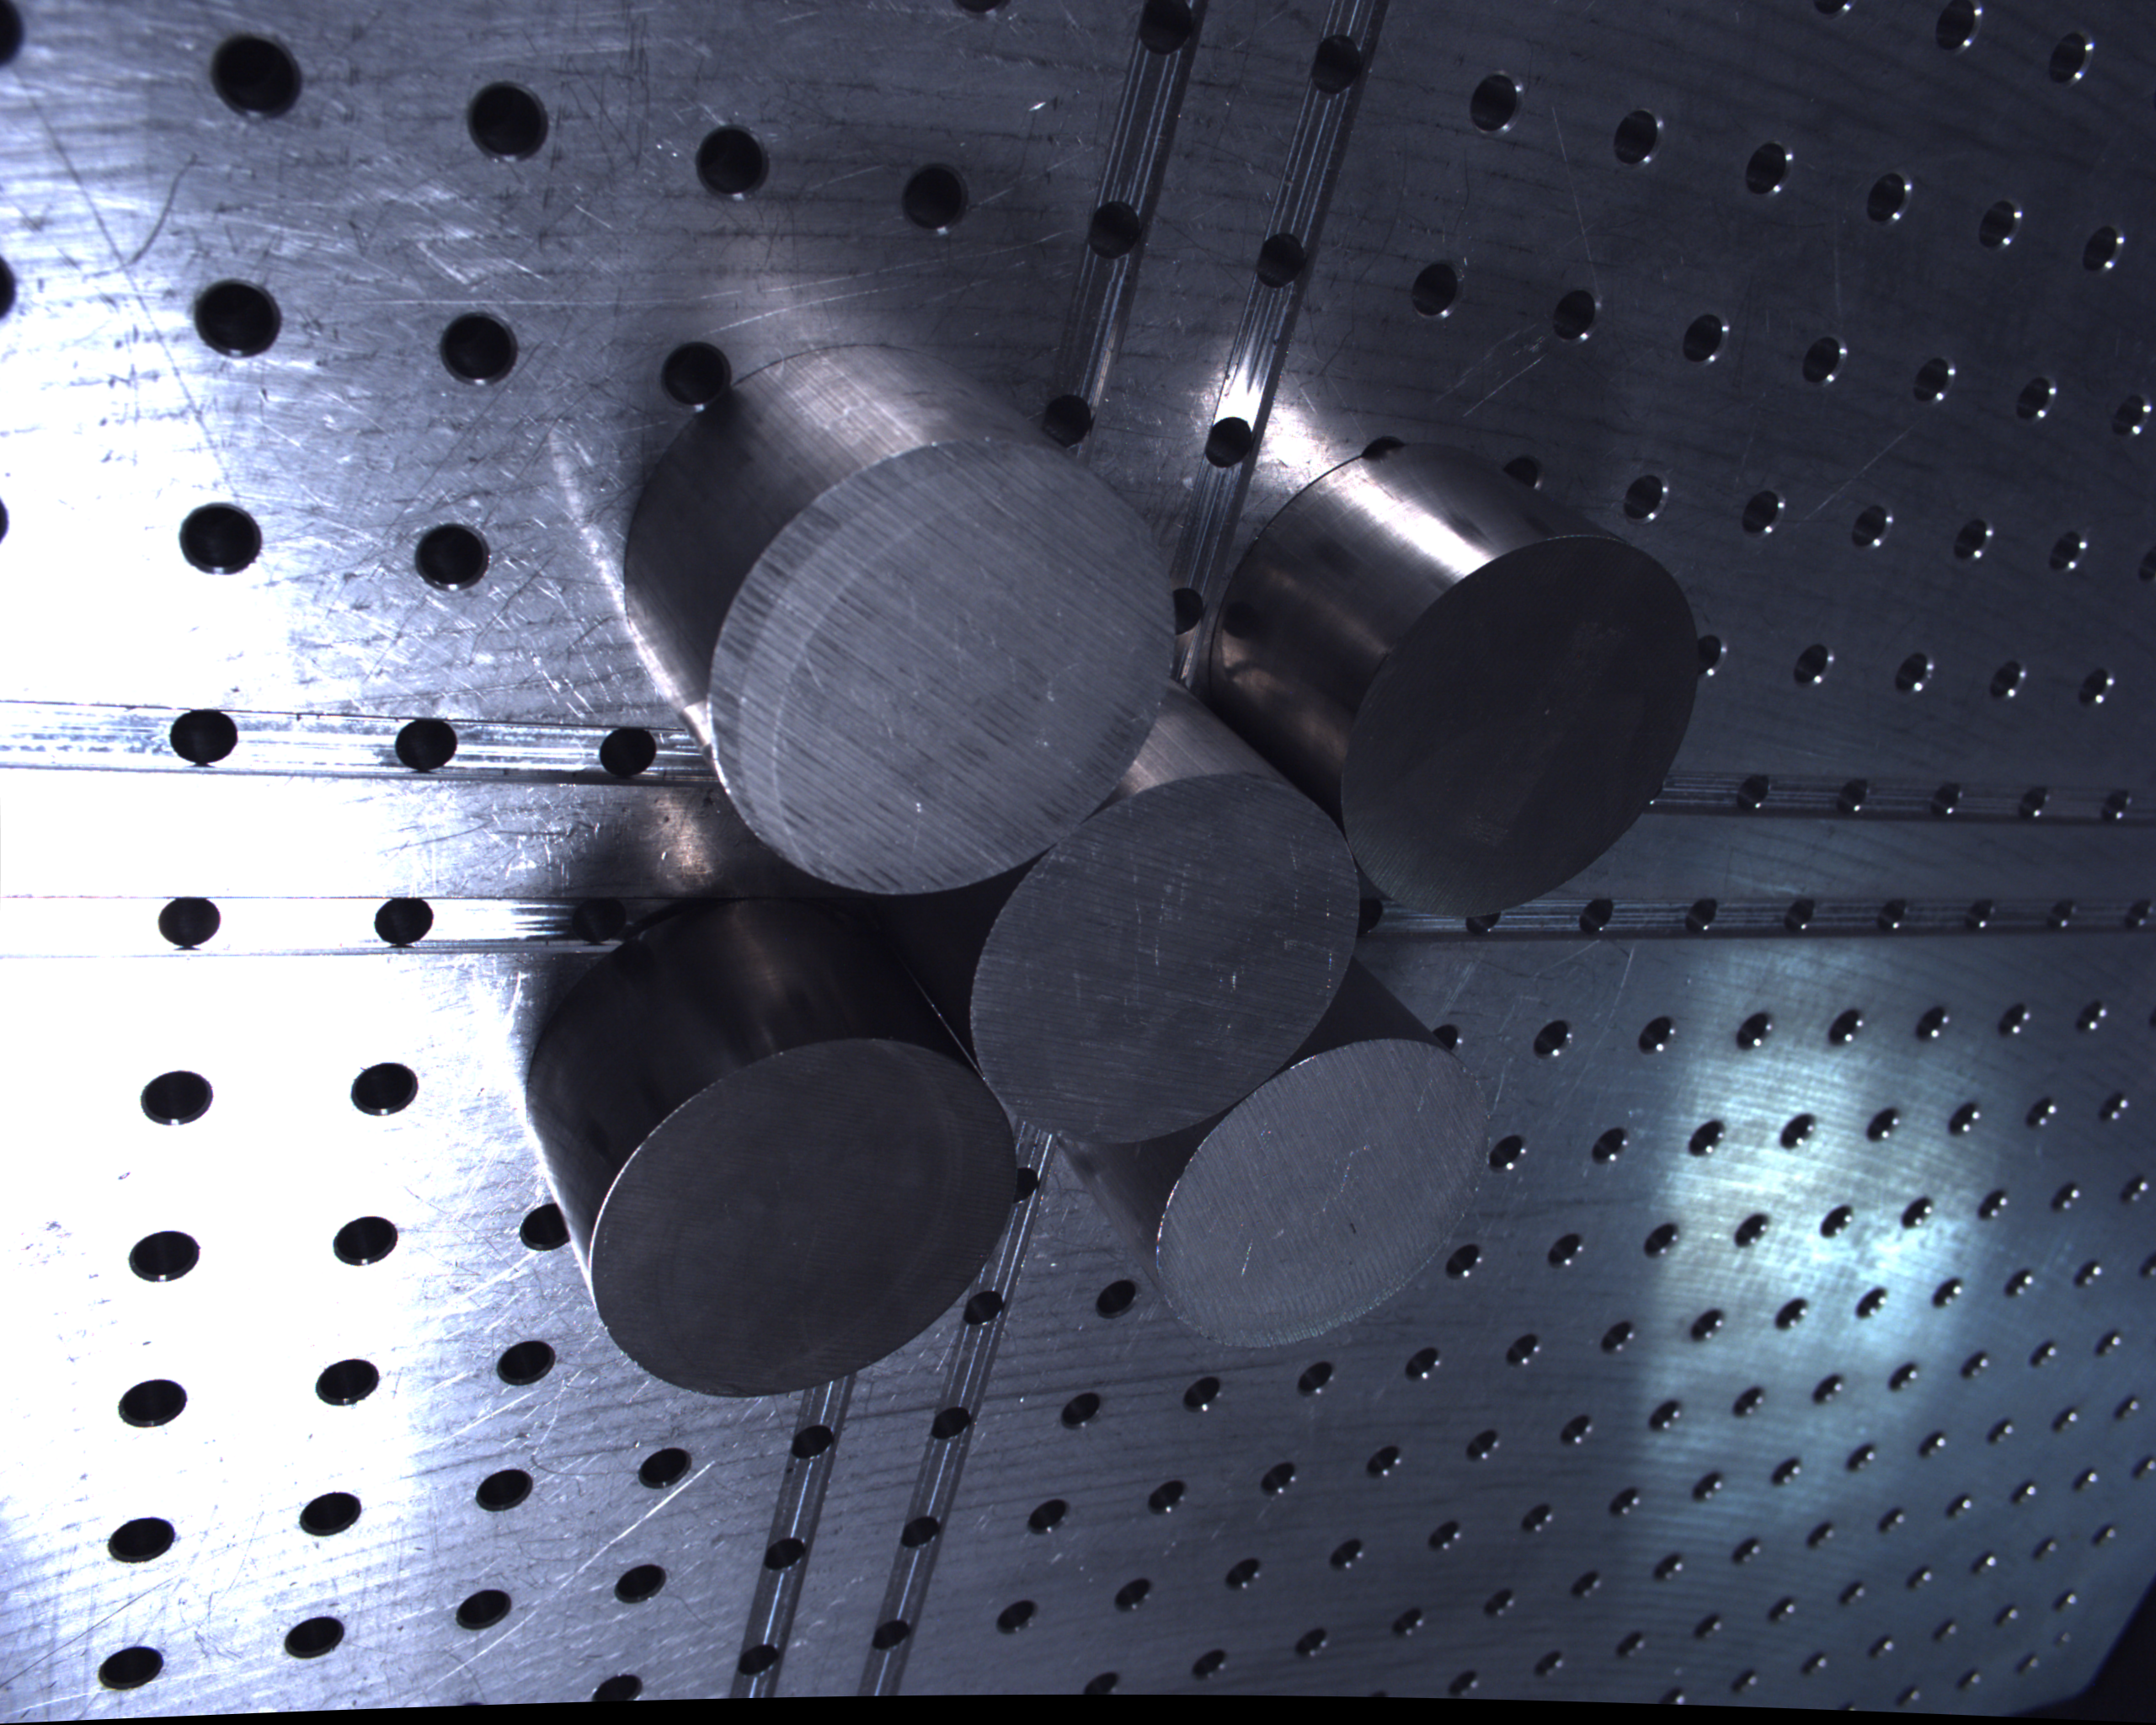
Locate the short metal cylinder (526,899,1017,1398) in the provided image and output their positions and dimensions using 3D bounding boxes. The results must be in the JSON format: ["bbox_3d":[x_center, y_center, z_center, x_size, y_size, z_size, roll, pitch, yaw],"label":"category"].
[{"bbox_3d":[-0.059,0.054,0.396,0.081,0.050,0.079,-14,125,-21],"label":"short metal cylinder"}]

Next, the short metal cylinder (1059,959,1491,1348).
[{"bbox_3d":[0.042,0.058,0.455,0.081,0.050,0.079,-14,125,-21],"label":"short metal cylinder"}]

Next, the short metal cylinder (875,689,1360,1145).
[{"bbox_3d":[0.007,0.007,0.404,0.081,0.050,0.079,-14,125,-21],"label":"short metal cylinder"}]

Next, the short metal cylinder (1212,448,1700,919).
[{"bbox_3d":[0.074,-0.036,0.413,0.081,0.050,0.079,-14,125,-21],"label":"short metal cylinder"}]

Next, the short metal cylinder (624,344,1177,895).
[{"bbox_3d":[-0.030,-0.041,0.353,0.081,0.050,0.079,-14,125,-21],"label":"short metal cylinder"}]
